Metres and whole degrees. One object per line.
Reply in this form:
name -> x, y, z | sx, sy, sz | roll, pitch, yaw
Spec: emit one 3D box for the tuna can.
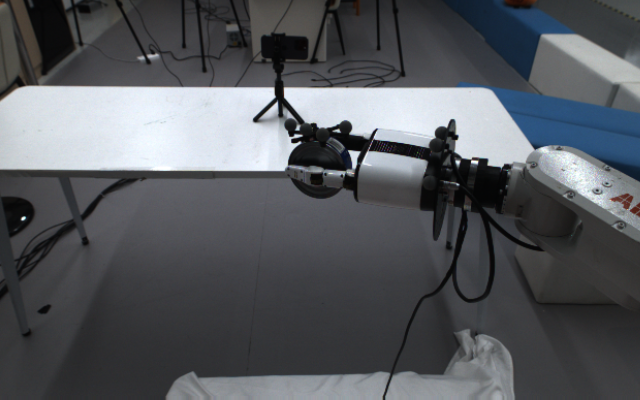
tuna can -> 0.001, -0.048, 0.678 | 0.085, 0.085, 0.034 | 14, 29, 16
